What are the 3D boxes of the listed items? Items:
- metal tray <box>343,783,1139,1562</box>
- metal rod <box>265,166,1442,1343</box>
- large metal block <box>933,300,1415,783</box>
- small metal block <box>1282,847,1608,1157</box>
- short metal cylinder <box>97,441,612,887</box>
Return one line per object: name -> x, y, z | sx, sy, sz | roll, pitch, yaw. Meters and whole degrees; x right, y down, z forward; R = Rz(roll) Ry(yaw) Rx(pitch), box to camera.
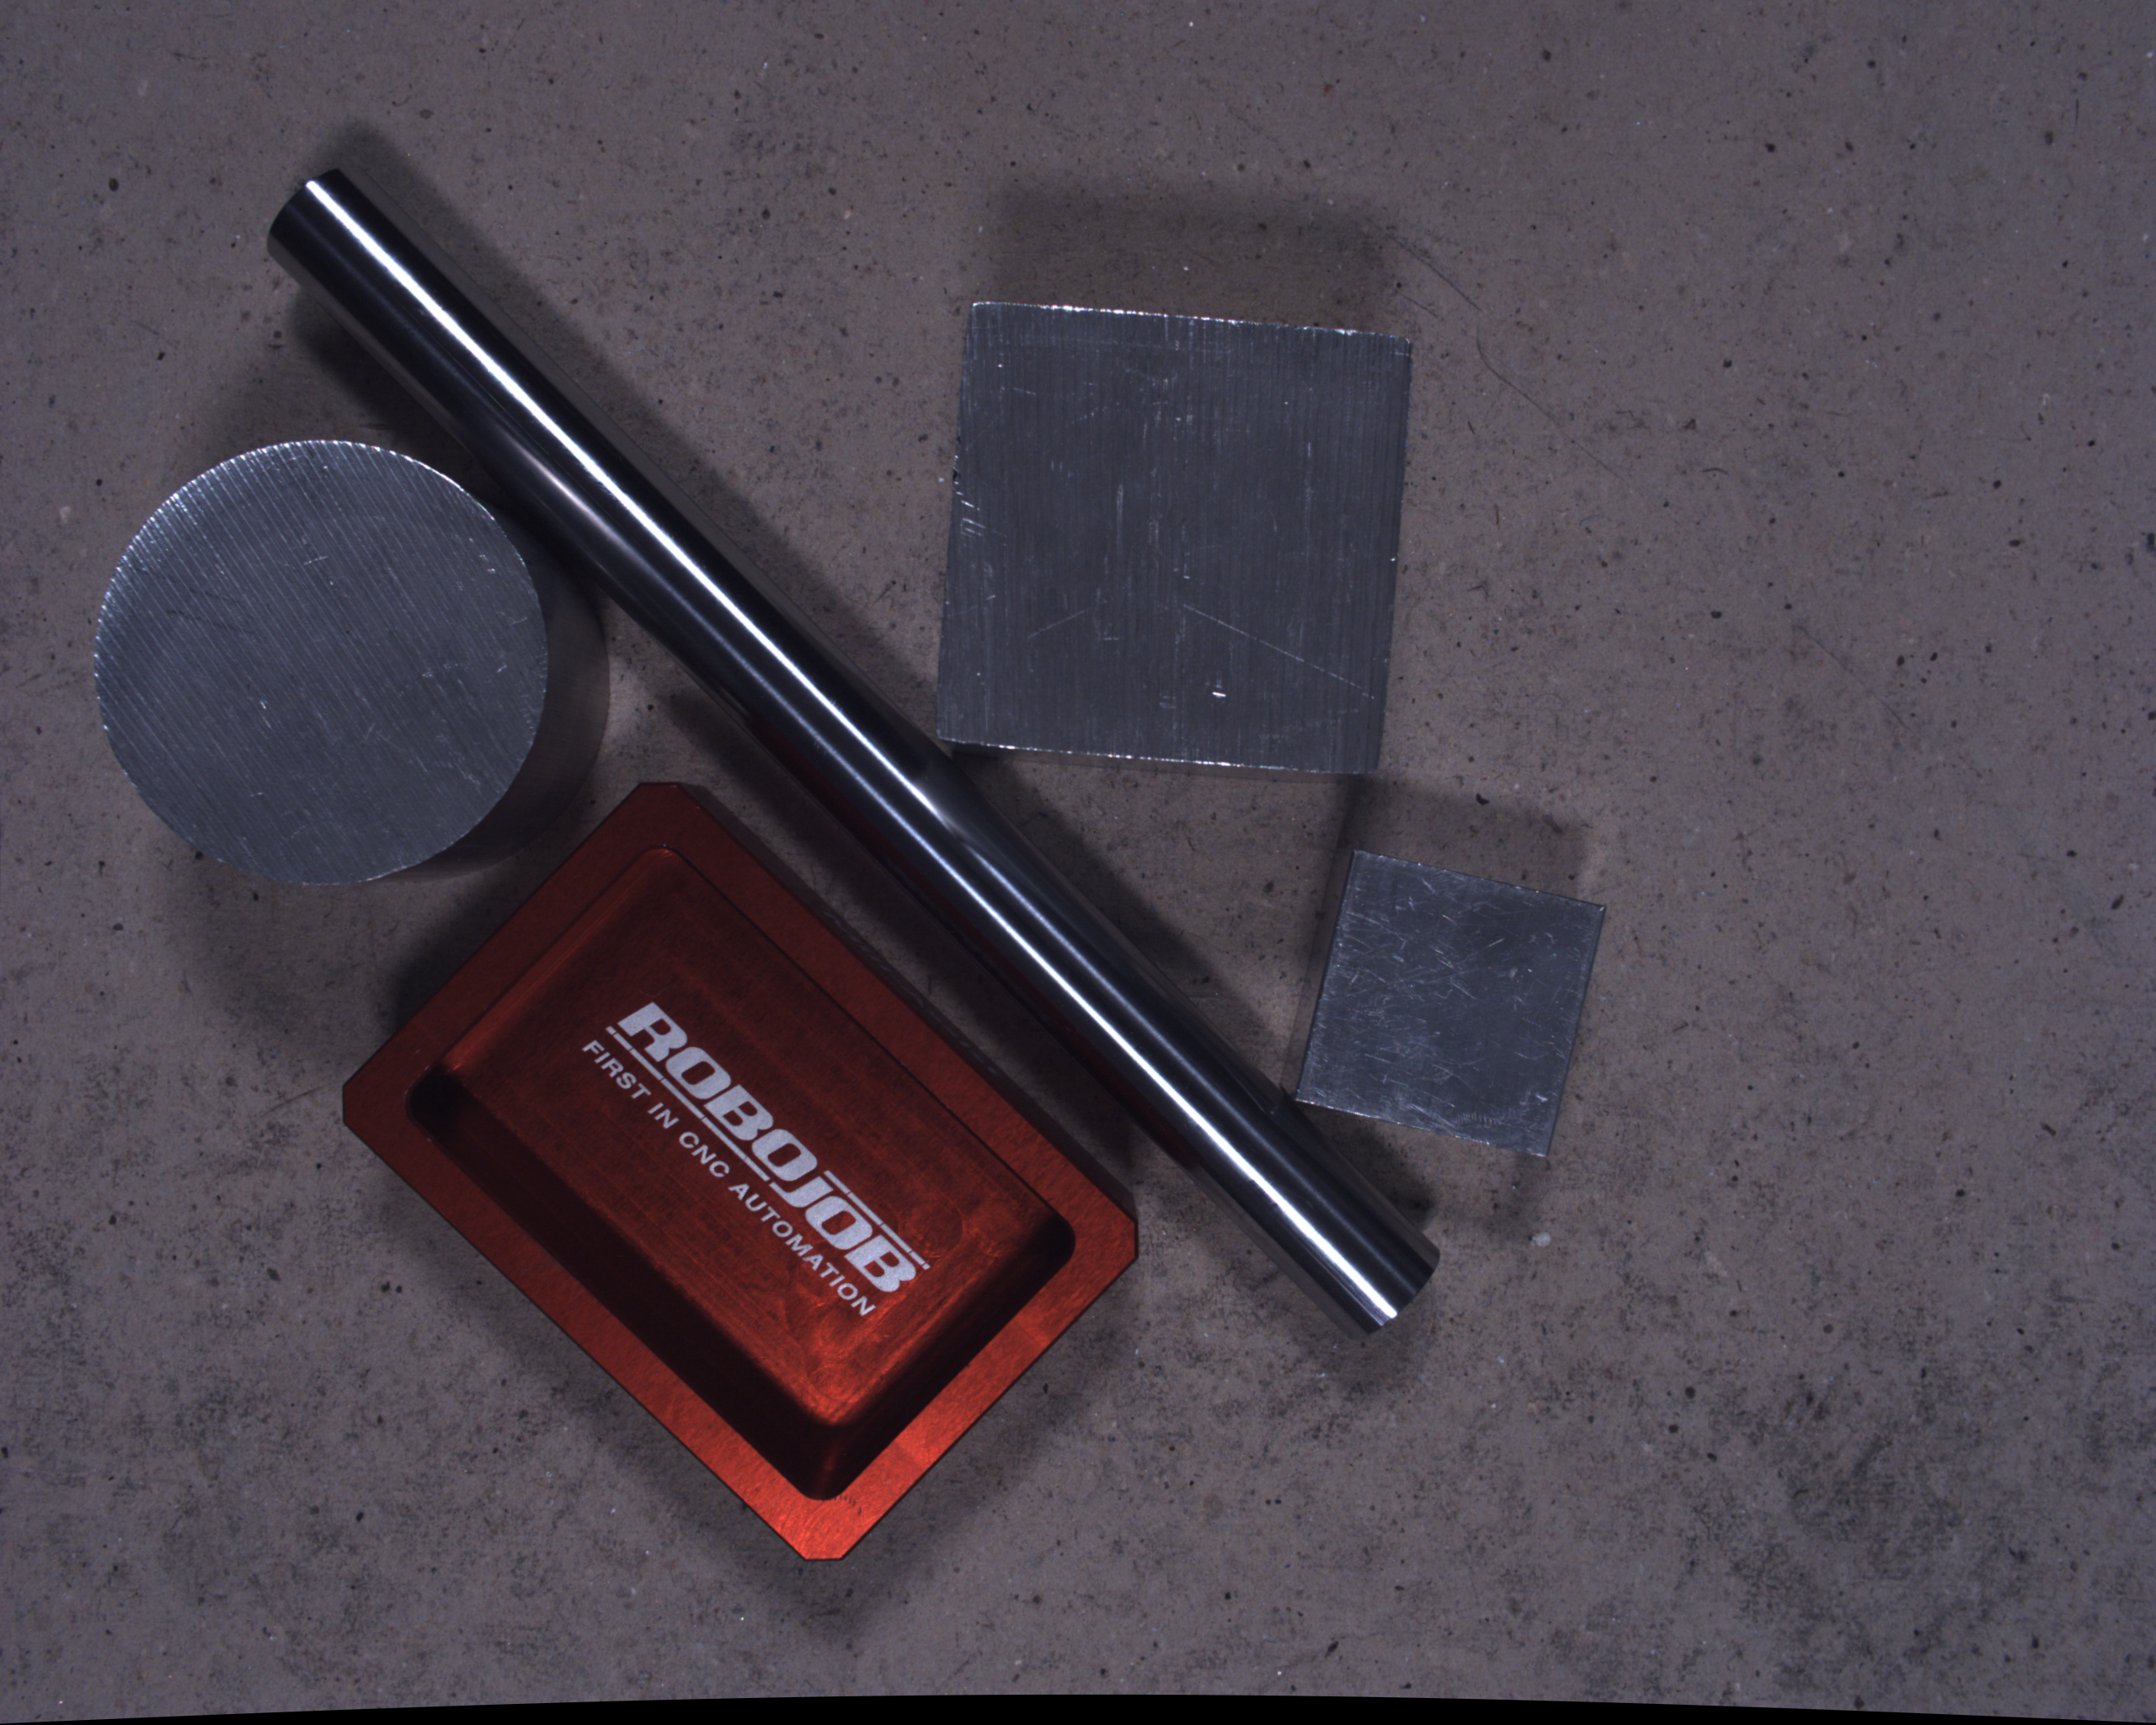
metal tray -> -0.064, 0.058, 0.408 | 0.130, 0.030, 0.090 | 44, 90, -1
metal rod -> -0.043, -0.021, 0.410 | 0.025, 0.025, 0.300 | -45, 91, 0
large metal block -> 0.017, -0.058, 0.399 | 0.081, 0.050, 0.079 | 4, 90, -1
small metal block -> 0.072, 0.027, 0.413 | 0.050, 0.025, 0.050 | 13, 90, -1
short metal cylinder -> -0.135, -0.036, 0.397 | 0.081, 0.050, 0.079 | 0, 90, -1
